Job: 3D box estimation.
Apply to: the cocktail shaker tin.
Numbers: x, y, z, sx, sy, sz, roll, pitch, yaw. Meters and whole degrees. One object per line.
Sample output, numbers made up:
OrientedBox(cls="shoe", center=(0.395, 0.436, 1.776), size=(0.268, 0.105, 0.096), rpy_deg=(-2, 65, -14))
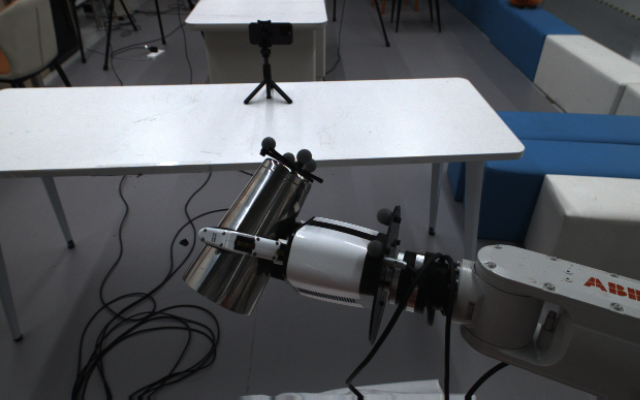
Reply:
OrientedBox(cls="cocktail shaker tin", center=(-0.080, 0.036, 0.580), size=(0.093, 0.093, 0.170), rpy_deg=(27, 84, 31))
